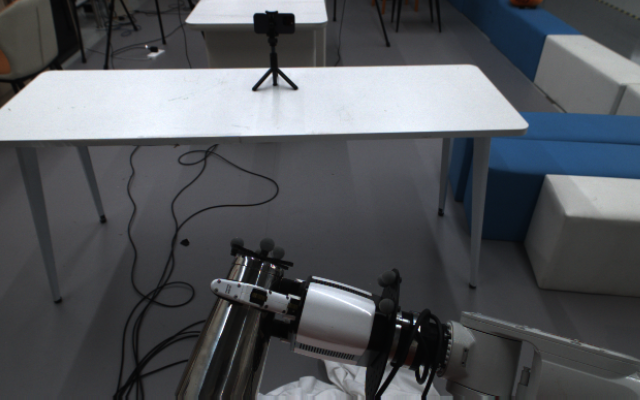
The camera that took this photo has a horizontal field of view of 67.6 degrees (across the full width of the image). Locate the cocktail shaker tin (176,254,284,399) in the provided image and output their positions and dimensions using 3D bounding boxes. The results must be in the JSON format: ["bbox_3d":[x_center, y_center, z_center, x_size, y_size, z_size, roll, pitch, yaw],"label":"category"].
[{"bbox_3d":[-0.098,0.159,0.580,0.093,0.093,0.170,12,72,14],"label":"cocktail shaker tin"}]
